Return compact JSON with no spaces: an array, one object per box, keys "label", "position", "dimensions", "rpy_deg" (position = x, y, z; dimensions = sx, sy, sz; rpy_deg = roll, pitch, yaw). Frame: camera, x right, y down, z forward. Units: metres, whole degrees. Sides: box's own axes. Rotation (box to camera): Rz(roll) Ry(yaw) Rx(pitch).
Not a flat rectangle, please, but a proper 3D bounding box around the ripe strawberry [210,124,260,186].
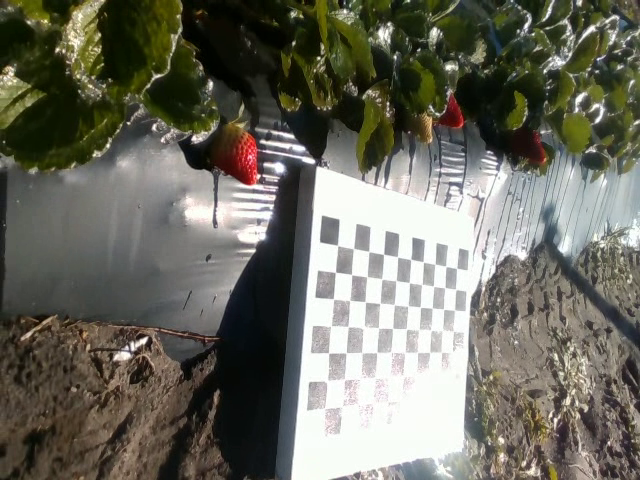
[{"label":"ripe strawberry","position":[-0.060,-0.061,0.458],"dimensions":[0.040,0.053,0.039],"rpy_deg":[-23,-1,44]}]
